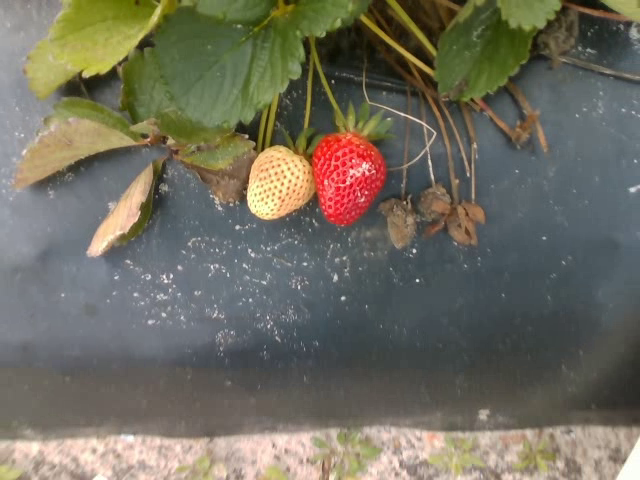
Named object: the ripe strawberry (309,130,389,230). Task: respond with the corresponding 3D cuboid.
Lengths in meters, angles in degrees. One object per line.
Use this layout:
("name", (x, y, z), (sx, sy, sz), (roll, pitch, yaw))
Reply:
("ripe strawberry", (0.010, -0.024, 0.235), (0.034, 0.042, 0.033), (26, -26, -16))
